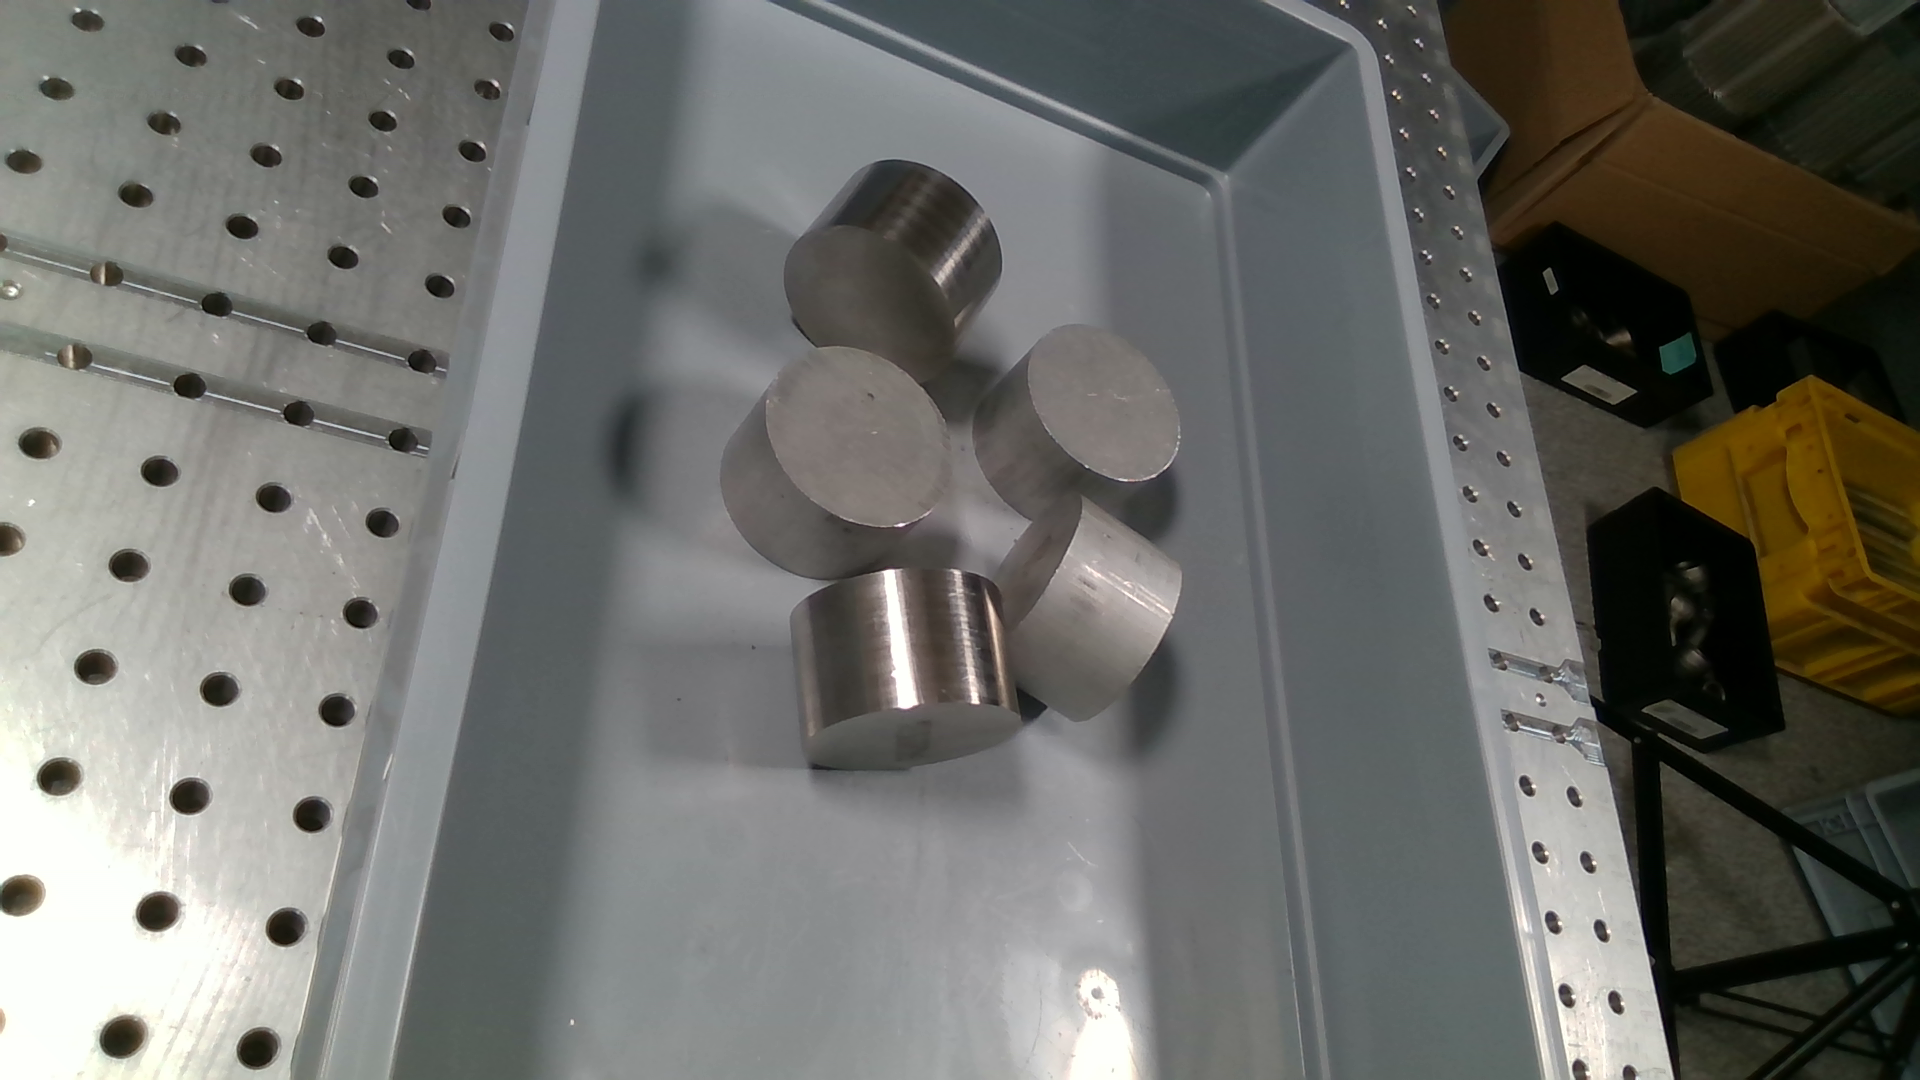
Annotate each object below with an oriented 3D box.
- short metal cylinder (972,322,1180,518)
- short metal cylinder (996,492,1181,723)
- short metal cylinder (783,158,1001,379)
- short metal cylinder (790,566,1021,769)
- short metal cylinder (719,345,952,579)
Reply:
[{"bbox_3d":[0.053,-0.052,0.628,0.080,0.050,0.080,14,59,-25],"label":"short metal cylinder"},{"bbox_3d":[0.046,0.028,0.564,0.050,0.080,0.080,33,52,-12],"label":"short metal cylinder"},{"bbox_3d":[-0.029,-0.115,0.592,0.080,0.080,0.050,37,52,-9],"label":"short metal cylinder"},{"bbox_3d":[-0.021,0.049,0.510,0.080,0.080,0.050,5,63,-29],"label":"short metal cylinder"},{"bbox_3d":[-0.050,-0.031,0.554,0.080,0.050,0.080,14,59,-25],"label":"short metal cylinder"}]
